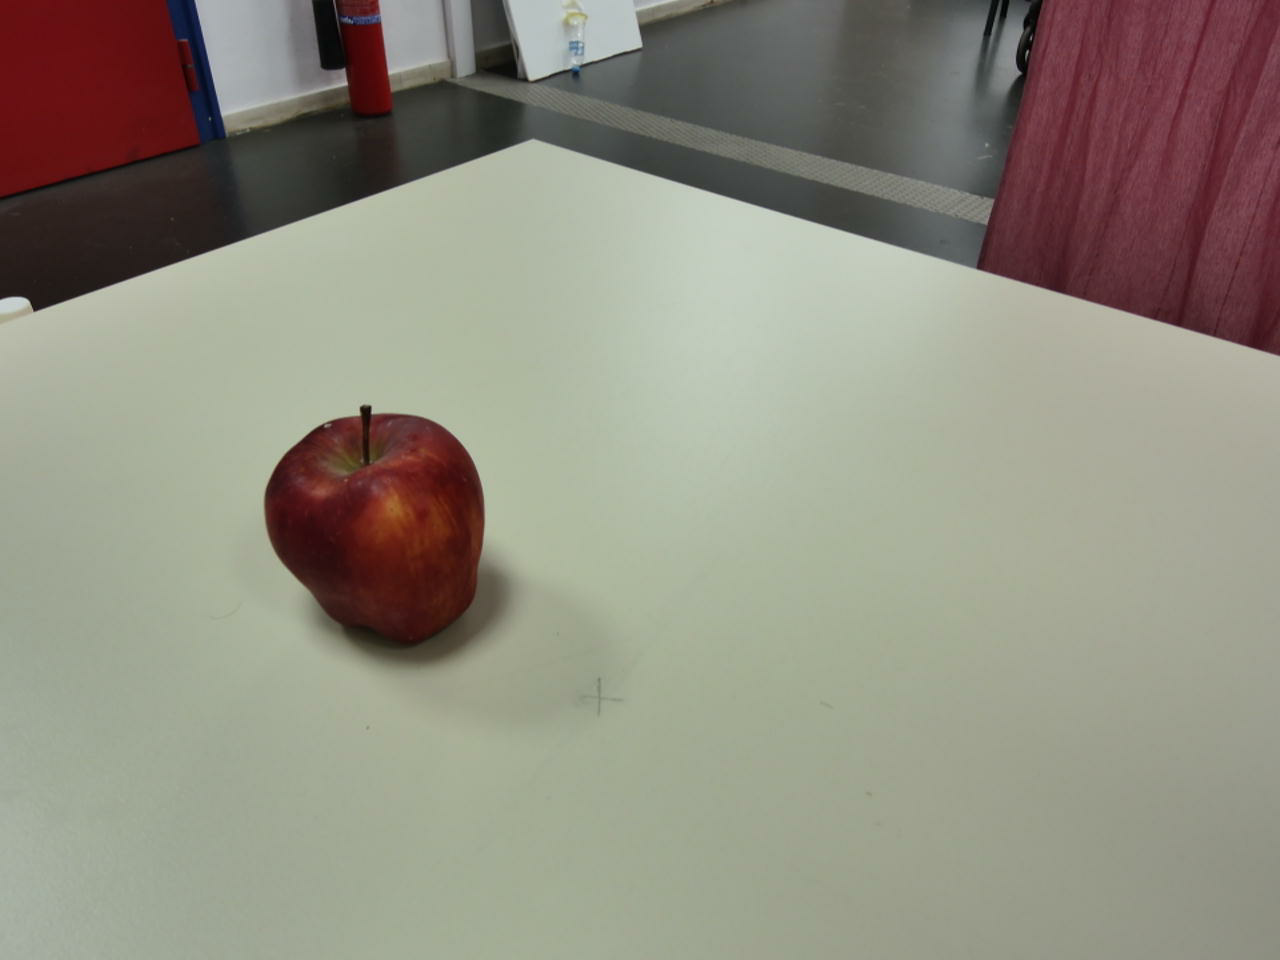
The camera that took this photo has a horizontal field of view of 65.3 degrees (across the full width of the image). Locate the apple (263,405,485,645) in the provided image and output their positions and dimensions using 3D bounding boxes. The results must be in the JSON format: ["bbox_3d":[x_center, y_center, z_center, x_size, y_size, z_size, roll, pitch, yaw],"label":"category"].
[{"bbox_3d":[-0.098,0.013,0.376,0.083,0.090,0.083,1,35,0],"label":"apple"}]
